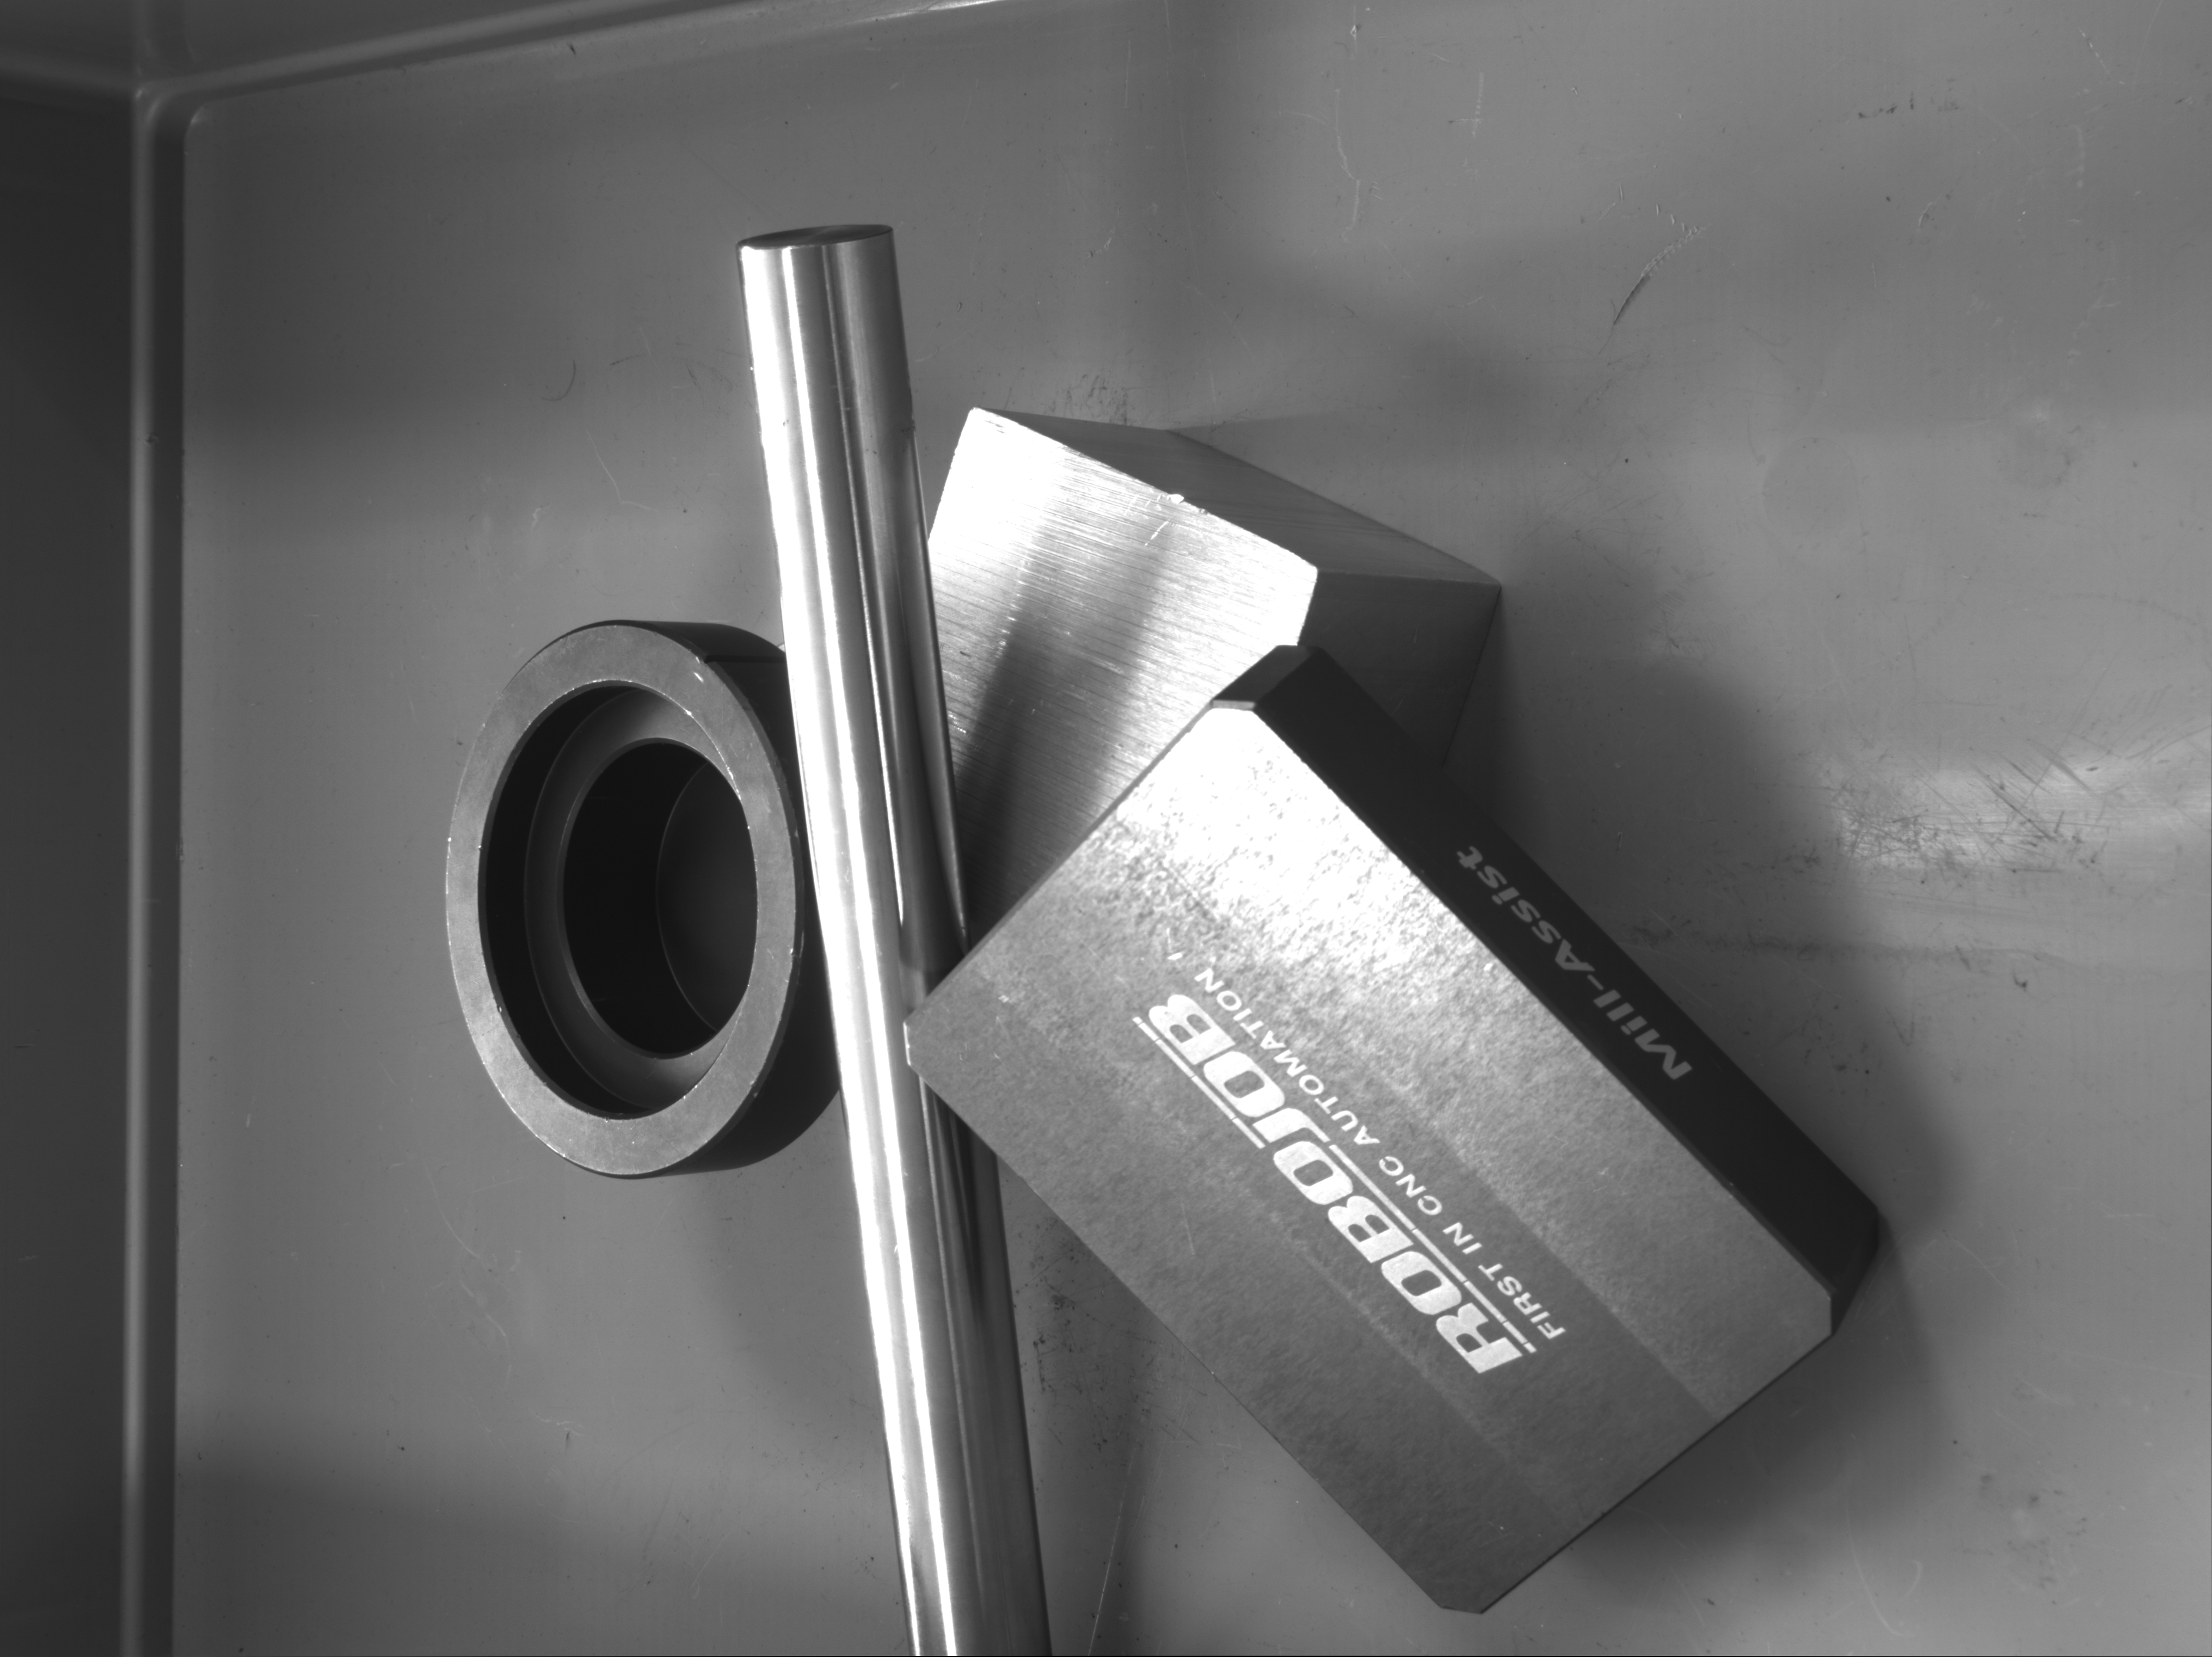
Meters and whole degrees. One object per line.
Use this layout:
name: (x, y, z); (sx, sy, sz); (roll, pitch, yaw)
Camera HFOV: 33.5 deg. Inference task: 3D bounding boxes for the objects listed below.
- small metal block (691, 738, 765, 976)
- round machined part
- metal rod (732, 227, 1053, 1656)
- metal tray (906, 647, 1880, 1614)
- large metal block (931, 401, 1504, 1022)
small metal block: (-0.060, -0.002, 0.696); (0.050, 0.025, 0.050); (-28, 72, 37)
round machined part: (-0.072, 0.013, 0.658); (0.098, 0.042, 0.098); (1, 91, 43)
metal rod: (-0.032, 0.051, 0.618); (0.025, 0.025, 0.300); (8, 111, 40)
metal tray: (0.043, 0.048, 0.571); (0.130, 0.030, 0.090); (45, 121, 2)
large metal block: (0.010, -0.019, 0.620); (0.080, 0.050, 0.080); (29, 108, 37)
